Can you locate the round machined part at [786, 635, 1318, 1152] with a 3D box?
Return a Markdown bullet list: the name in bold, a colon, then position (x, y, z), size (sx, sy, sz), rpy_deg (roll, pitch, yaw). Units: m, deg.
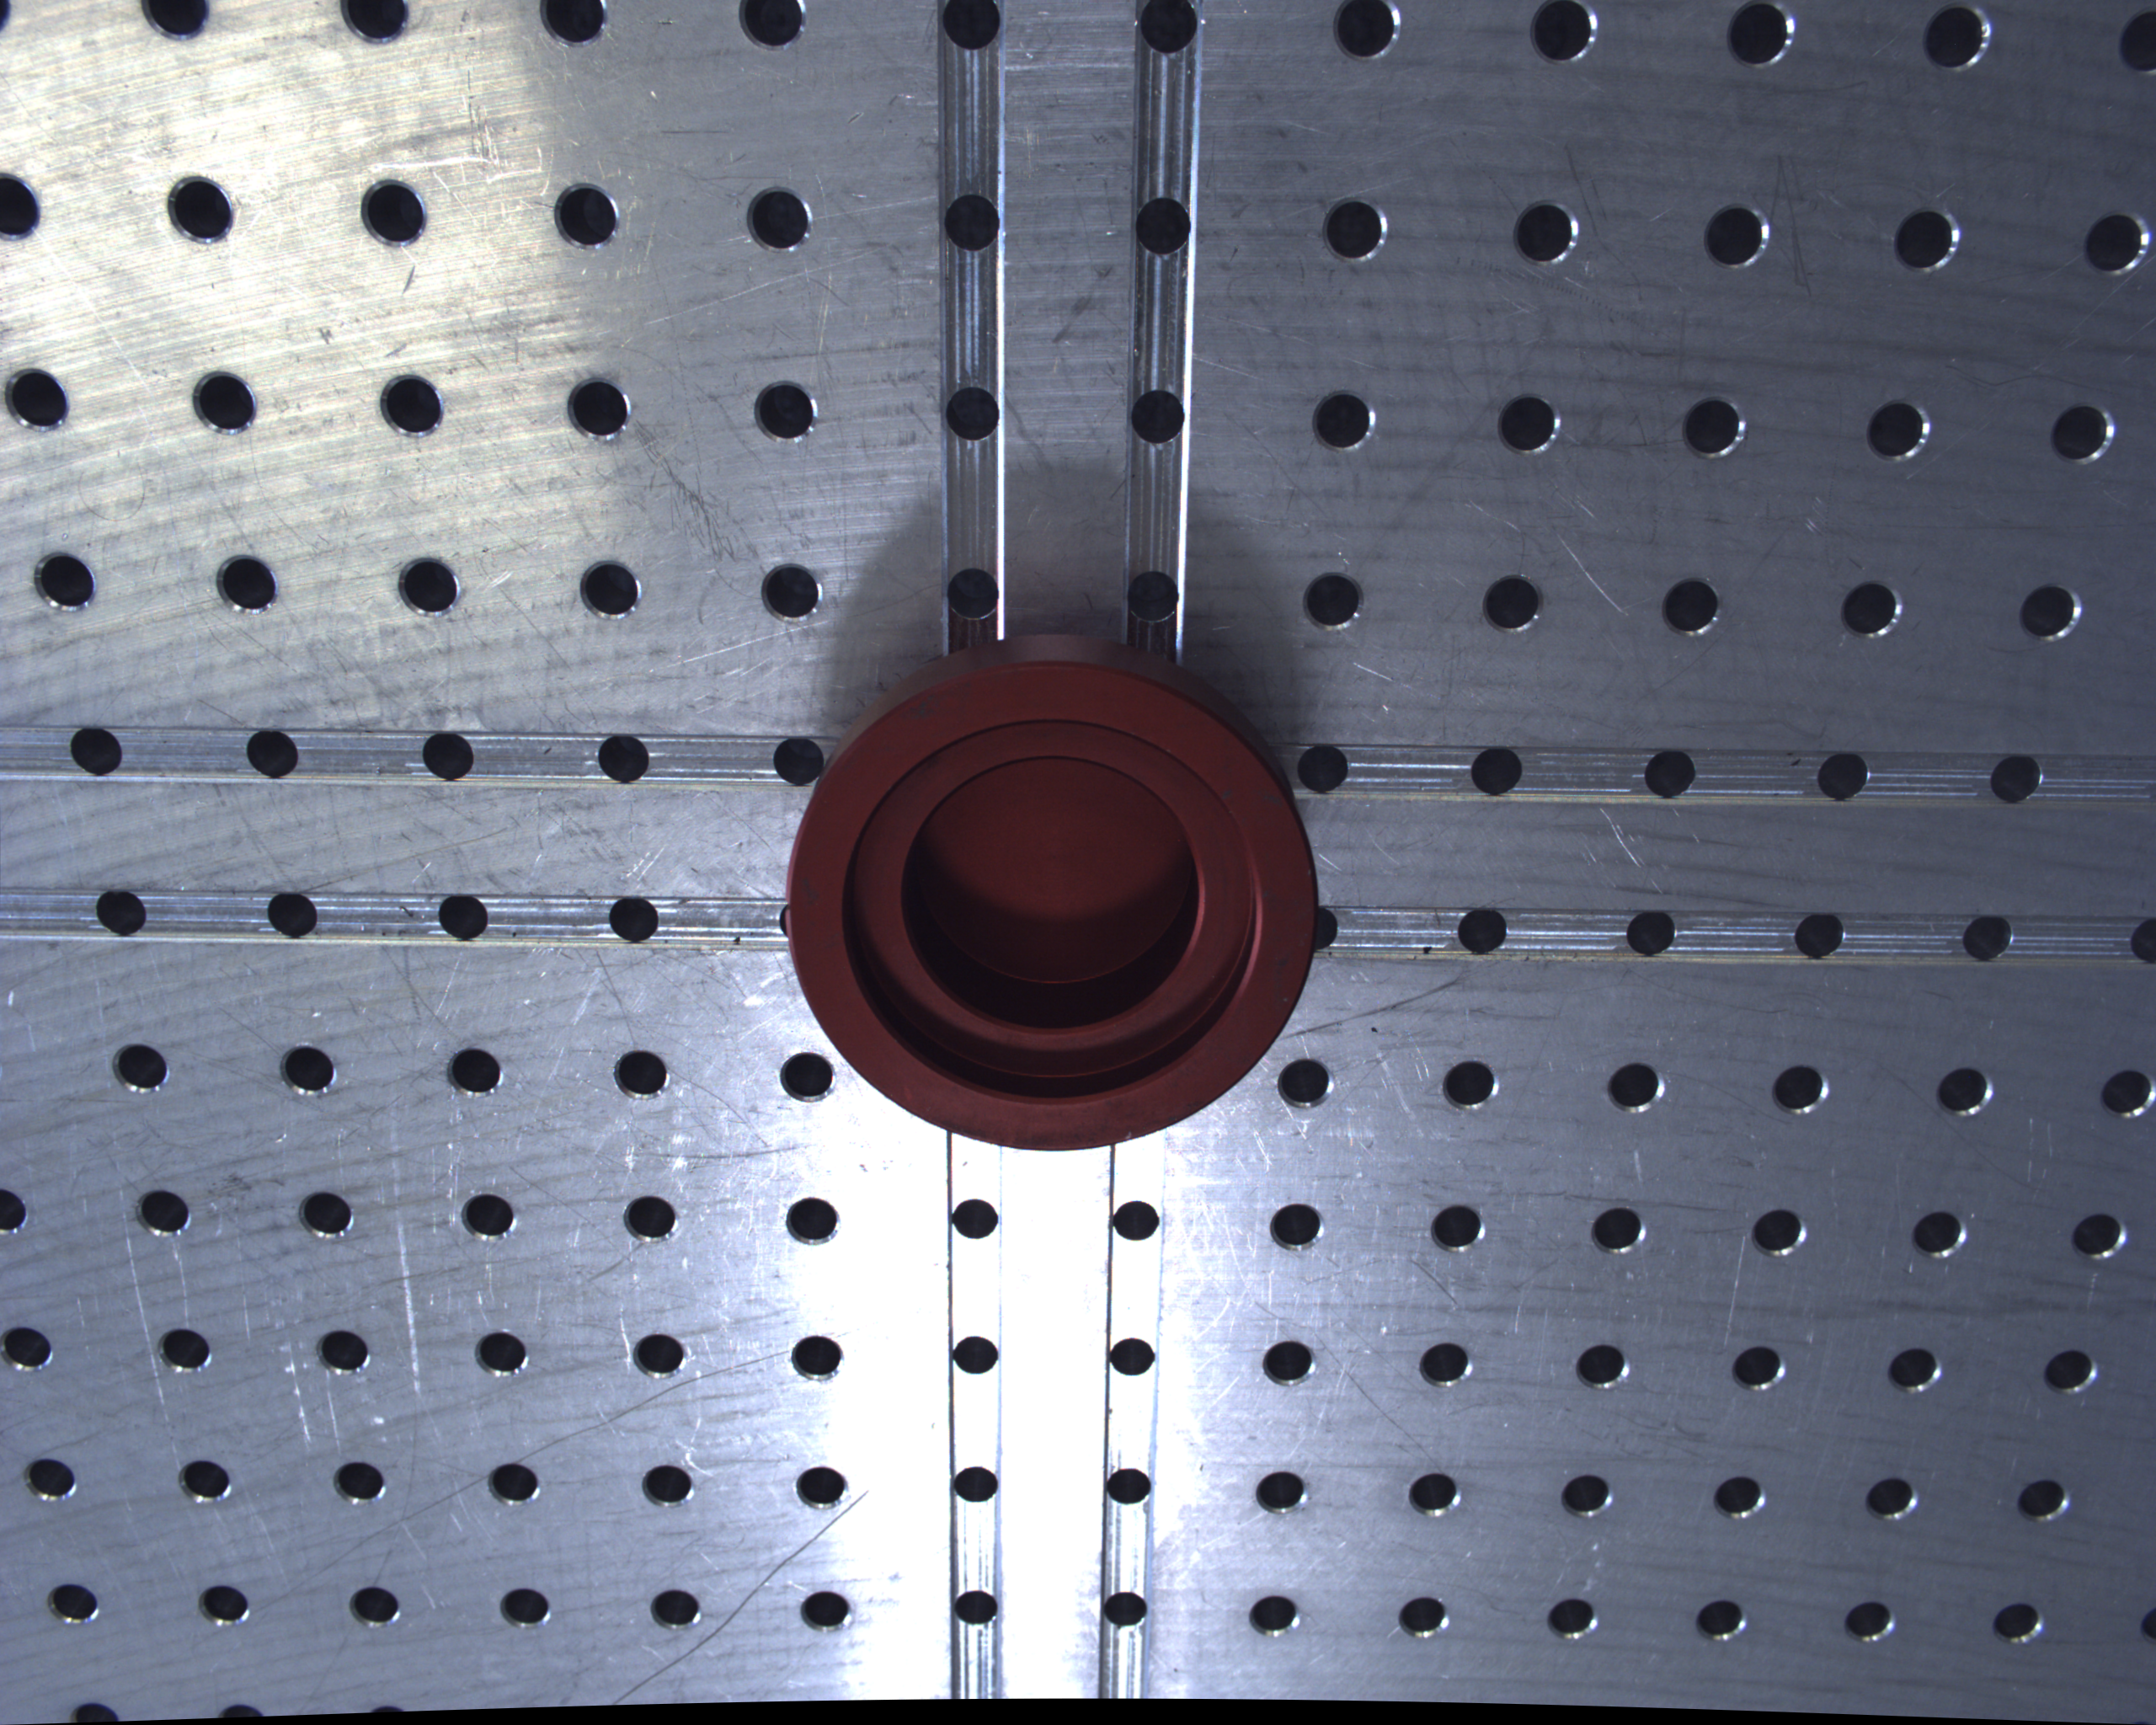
- **round machined part**: position (-0.005, 0.003, 0.405), size (0.099, 0.042, 0.097), rpy_deg (0, 110, 0)
